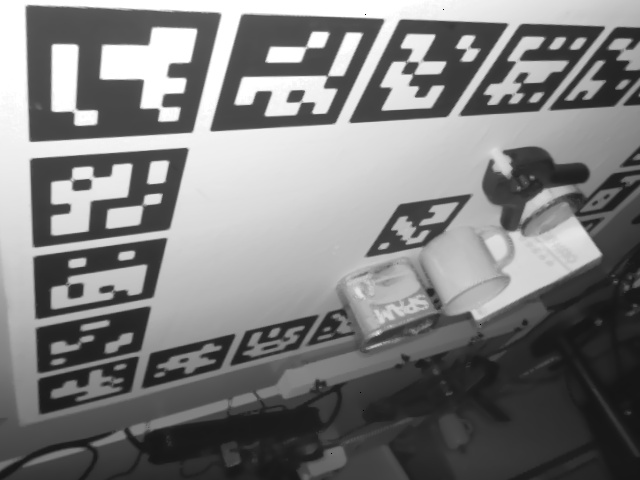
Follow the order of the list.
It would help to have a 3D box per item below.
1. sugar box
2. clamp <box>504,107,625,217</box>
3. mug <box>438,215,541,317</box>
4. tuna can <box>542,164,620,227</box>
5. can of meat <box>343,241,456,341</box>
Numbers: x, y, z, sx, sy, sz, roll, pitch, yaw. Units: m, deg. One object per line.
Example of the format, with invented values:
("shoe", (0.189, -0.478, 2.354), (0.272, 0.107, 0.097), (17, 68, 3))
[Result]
("sugar box", (0.268, 0.017, 0.827), (0.176, 0.093, 0.045), (-26, 150, 4))
("clamp", (0.236, -0.086, 0.707), (0.120, 0.036, 0.166), (-33, 144, 21))
("mug", (0.192, 0.019, 0.770), (0.094, 0.081, 0.115), (17, 128, -46))
("tuna can", (0.290, -0.055, 0.780), (0.086, 0.034, 0.085), (-19, 146, -12))
("can of meat", (0.085, 0.054, 0.761), (0.103, 0.084, 0.057), (-10, 147, -21))
